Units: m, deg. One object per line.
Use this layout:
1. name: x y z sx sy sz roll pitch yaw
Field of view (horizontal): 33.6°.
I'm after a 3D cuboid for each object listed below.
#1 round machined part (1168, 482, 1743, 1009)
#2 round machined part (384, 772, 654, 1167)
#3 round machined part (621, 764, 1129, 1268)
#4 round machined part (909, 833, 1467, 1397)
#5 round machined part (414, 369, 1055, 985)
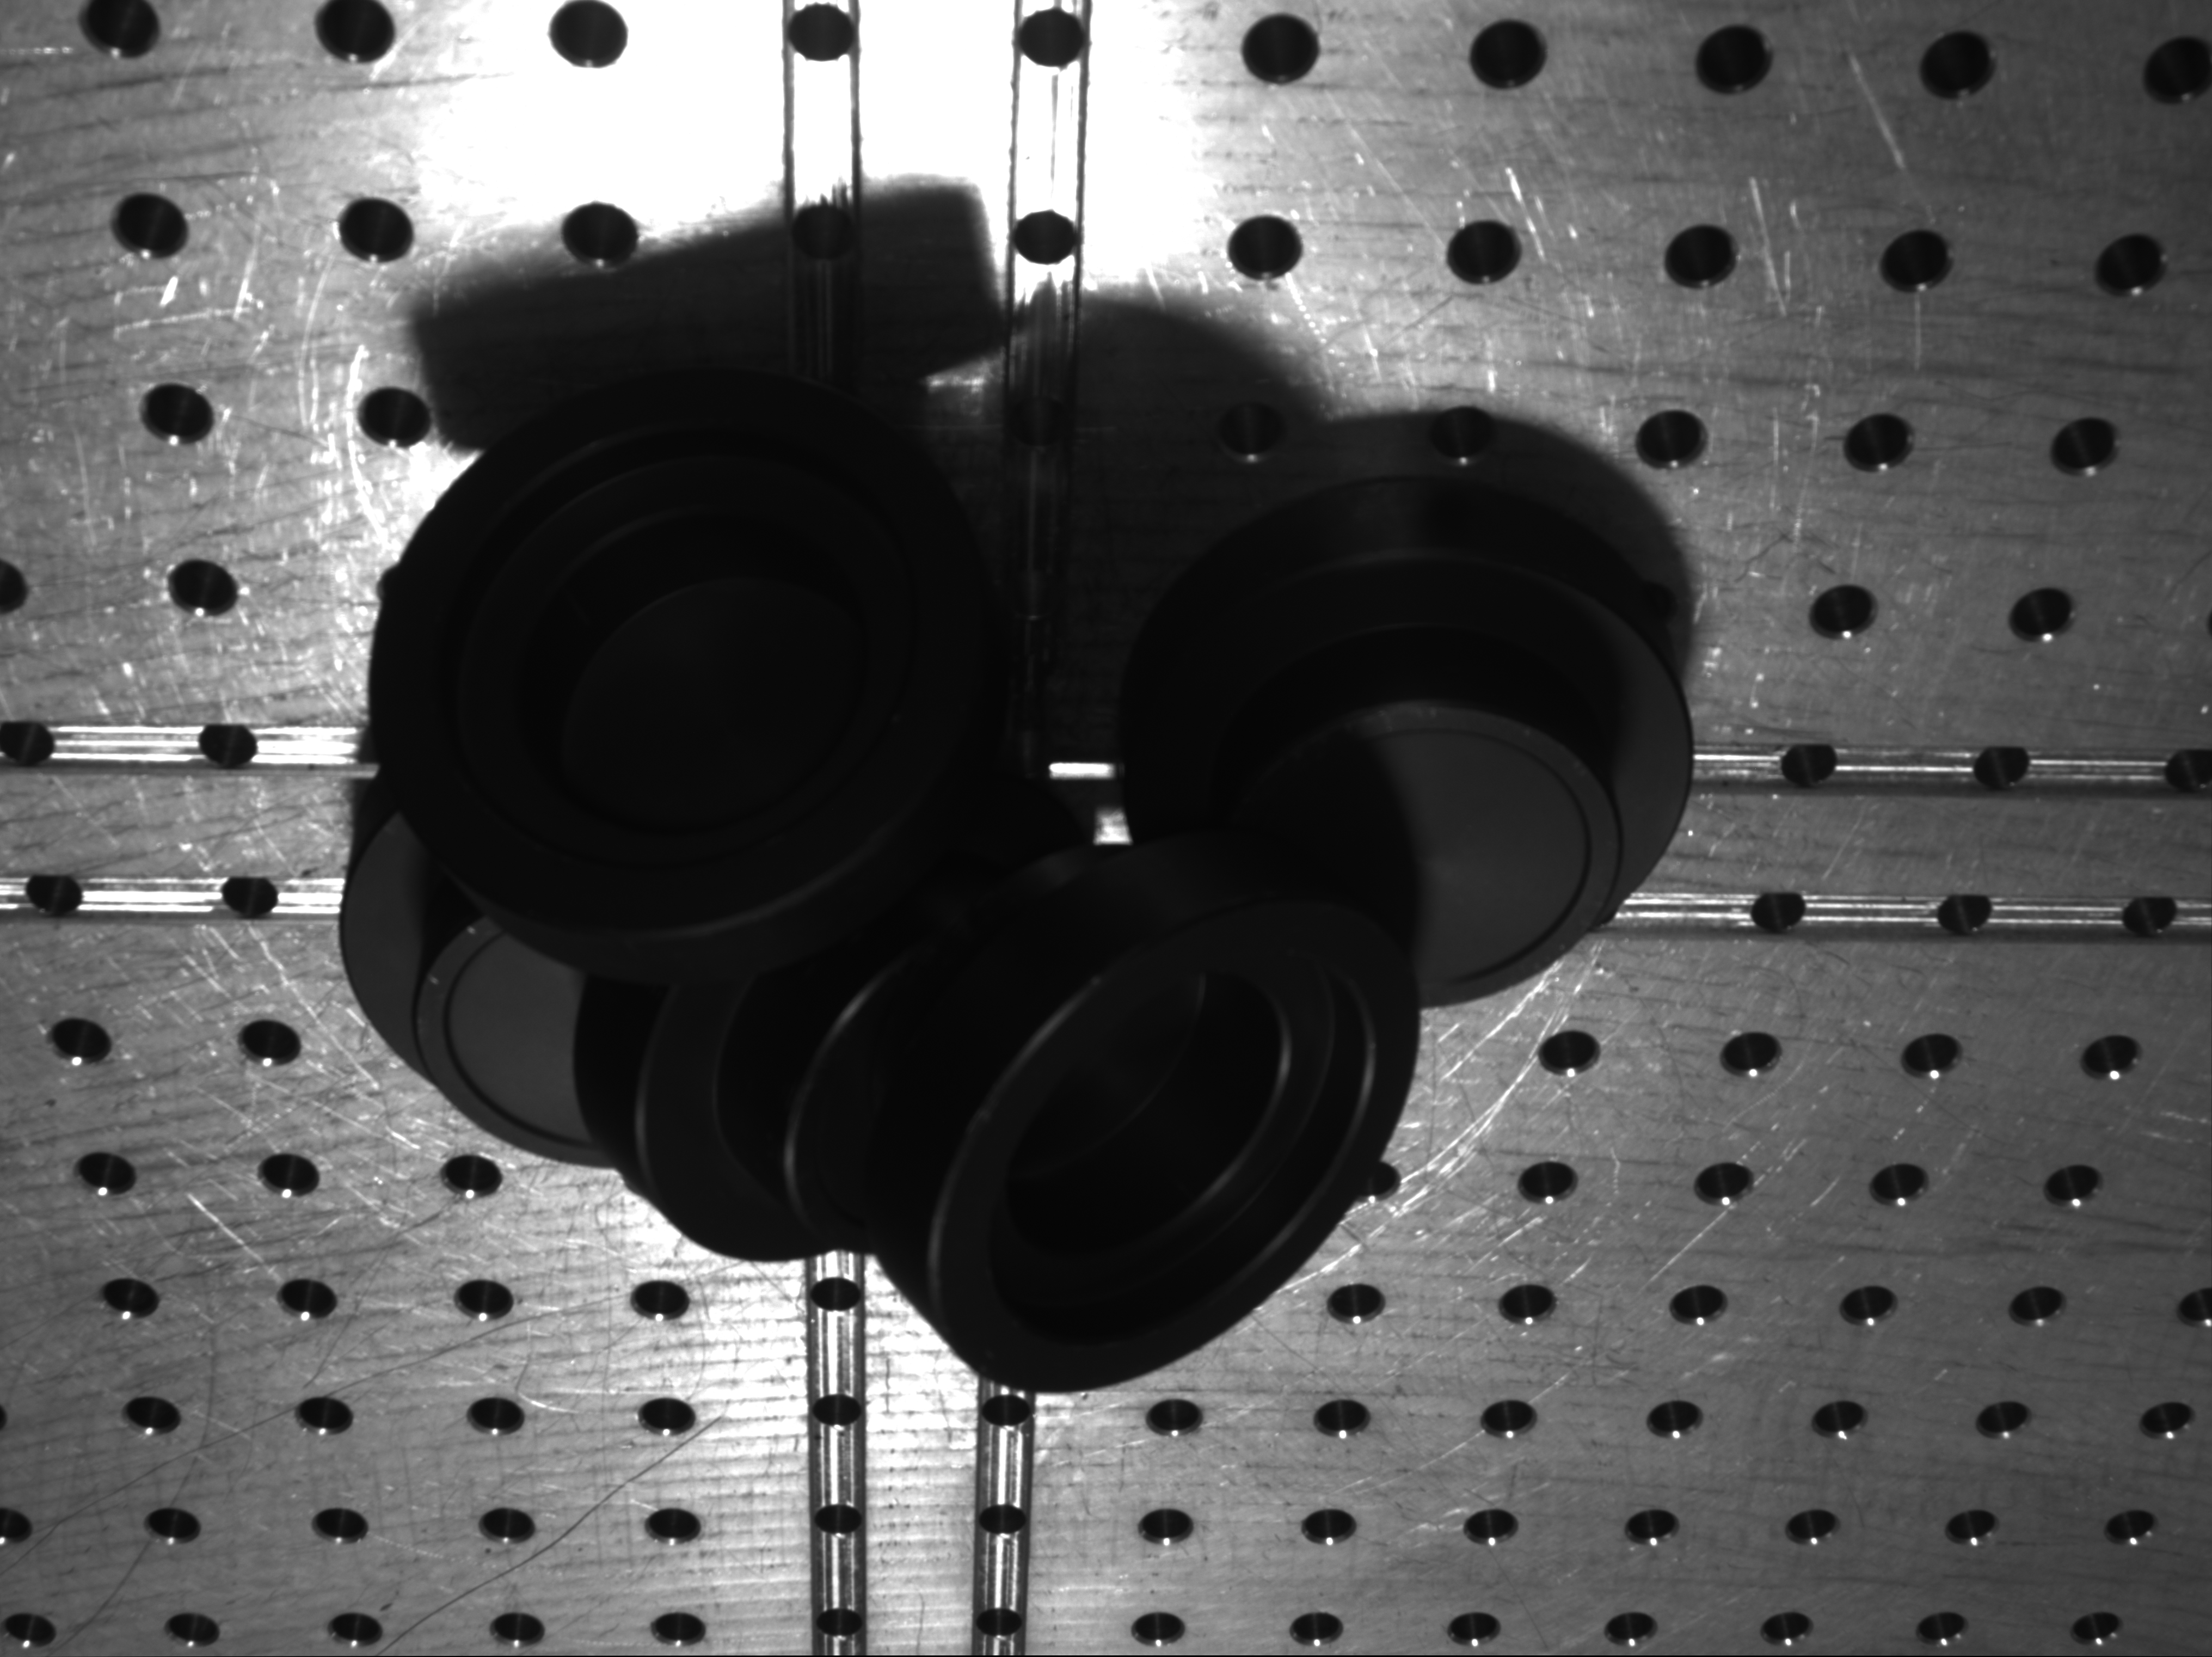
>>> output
1. round machined part: 0.060 -0.007 0.626 0.098 0.042 0.098 -1 130 -1
2. round machined part: -0.078 0.022 0.646 0.098 0.042 0.098 -1 130 -1
3. round machined part: -0.030 0.034 0.627 0.098 0.042 0.098 -25 134 -30
4. round machined part: 0.009 0.042 0.603 0.098 0.042 0.098 -24 135 -26
5. round machined part: -0.056 -0.020 0.581 0.098 0.098 0.042 -10 155 6
